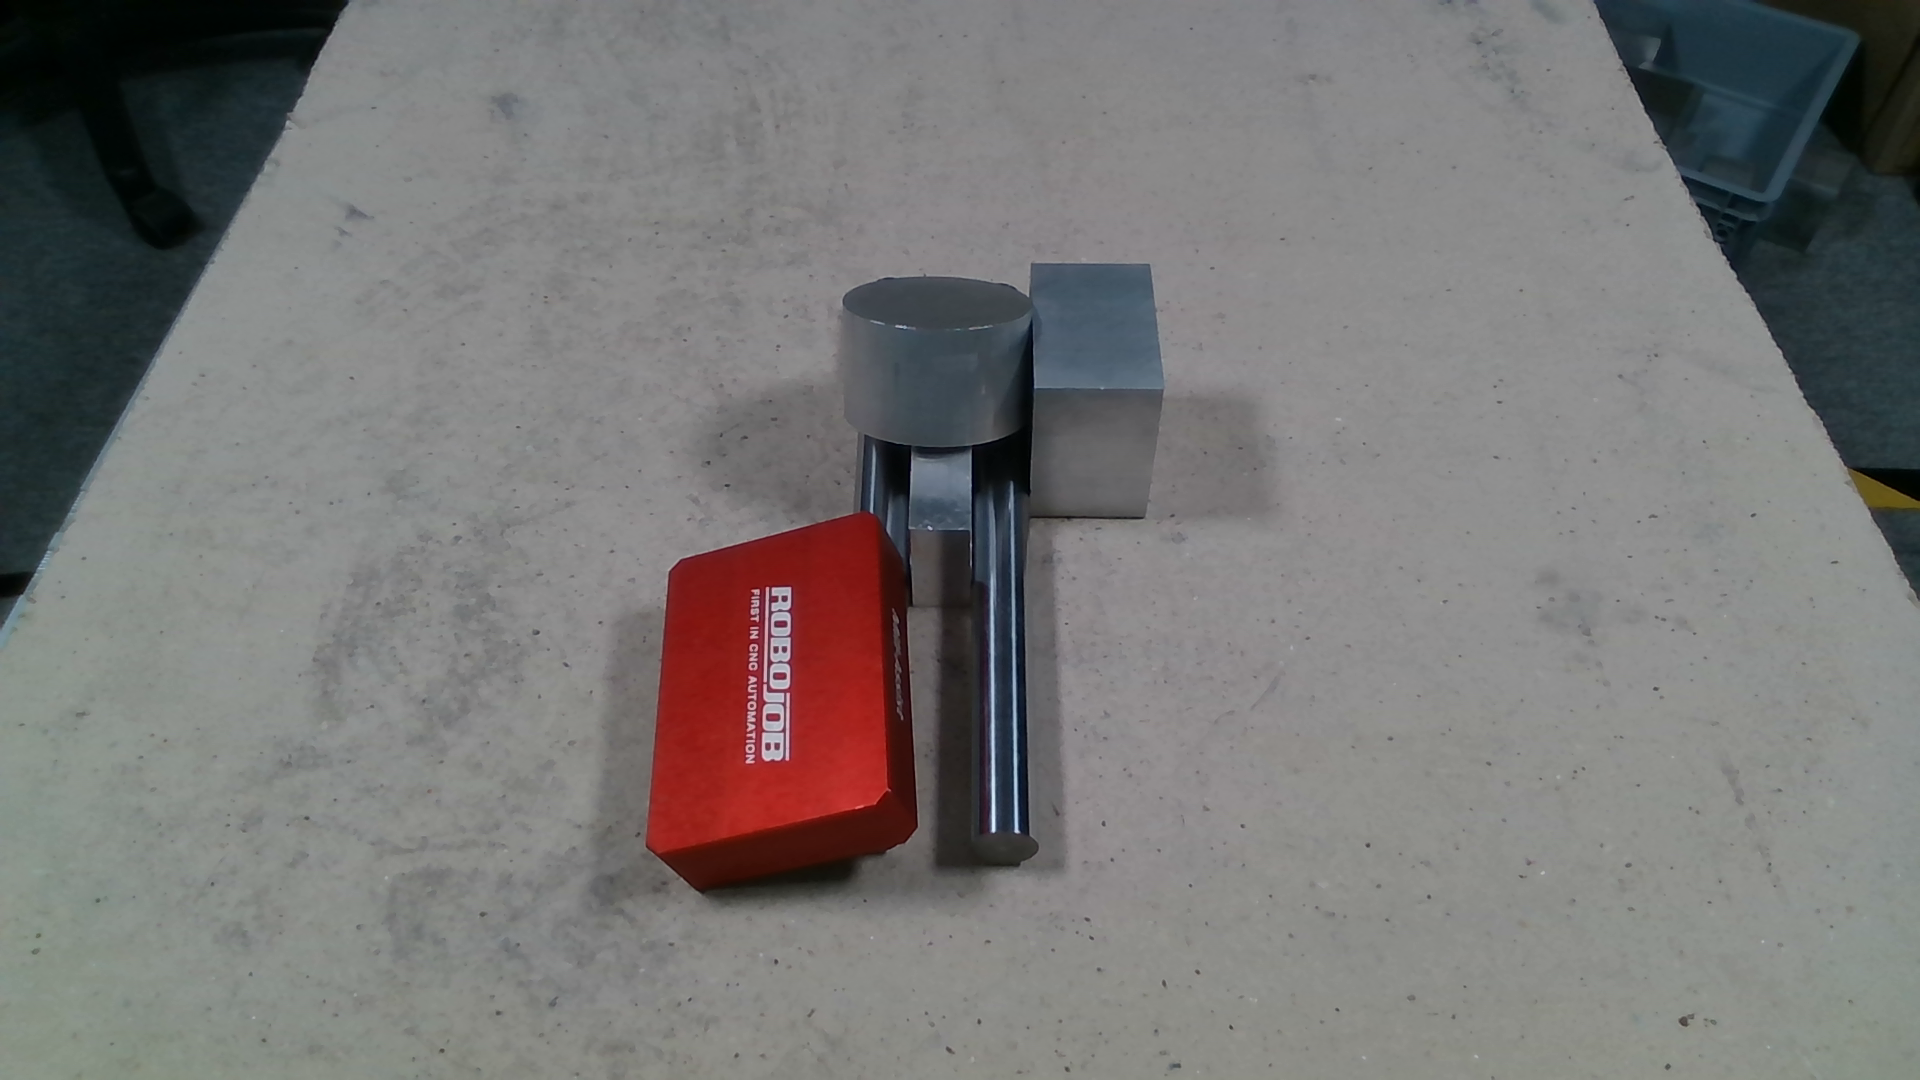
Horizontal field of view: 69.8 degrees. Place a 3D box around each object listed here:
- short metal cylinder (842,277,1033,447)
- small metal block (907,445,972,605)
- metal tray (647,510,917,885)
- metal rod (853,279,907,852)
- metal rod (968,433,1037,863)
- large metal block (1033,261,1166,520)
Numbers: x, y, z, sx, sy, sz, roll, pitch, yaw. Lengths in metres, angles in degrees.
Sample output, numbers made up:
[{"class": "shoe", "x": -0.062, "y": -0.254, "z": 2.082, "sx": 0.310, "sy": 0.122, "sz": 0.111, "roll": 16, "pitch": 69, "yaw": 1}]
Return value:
[{"class": "short metal cylinder", "x": -0.010, "y": -0.078, "z": 0.590, "sx": 0.080, "sy": 0.050, "sz": 0.080, "roll": 2, "pitch": 26, "yaw": -1}, {"class": "small metal block", "x": -0.008, "y": -0.008, "z": 0.577, "sx": 0.025, "sy": 0.050, "sz": 0.050, "roll": 0, "pitch": 50, "yaw": 0}, {"class": "metal tray", "x": -0.066, "y": 0.056, "z": 0.519, "sx": 0.090, "sy": 0.030, "sz": 0.130, "roll": -14, "pitch": 51, "yaw": 11}, {"class": "metal rod", "x": -0.034, "y": -0.007, "z": 0.594, "sx": 0.025, "sy": 0.025, "sz": 0.299, "roll": 0, "pitch": 50, "yaw": 0}, {"class": "metal rod", "x": 0.017, "y": -0.004, "z": 0.591, "sx": 0.025, "sy": 0.025, "sz": 0.299, "roll": 0, "pitch": 50, "yaw": 0}, {"class": "large metal block", "x": 0.058, "y": -0.065, "z": 0.607, "sx": 0.050, "sy": 0.080, "sz": 0.080, "roll": 1, "pitch": 50, "yaw": 1}]
